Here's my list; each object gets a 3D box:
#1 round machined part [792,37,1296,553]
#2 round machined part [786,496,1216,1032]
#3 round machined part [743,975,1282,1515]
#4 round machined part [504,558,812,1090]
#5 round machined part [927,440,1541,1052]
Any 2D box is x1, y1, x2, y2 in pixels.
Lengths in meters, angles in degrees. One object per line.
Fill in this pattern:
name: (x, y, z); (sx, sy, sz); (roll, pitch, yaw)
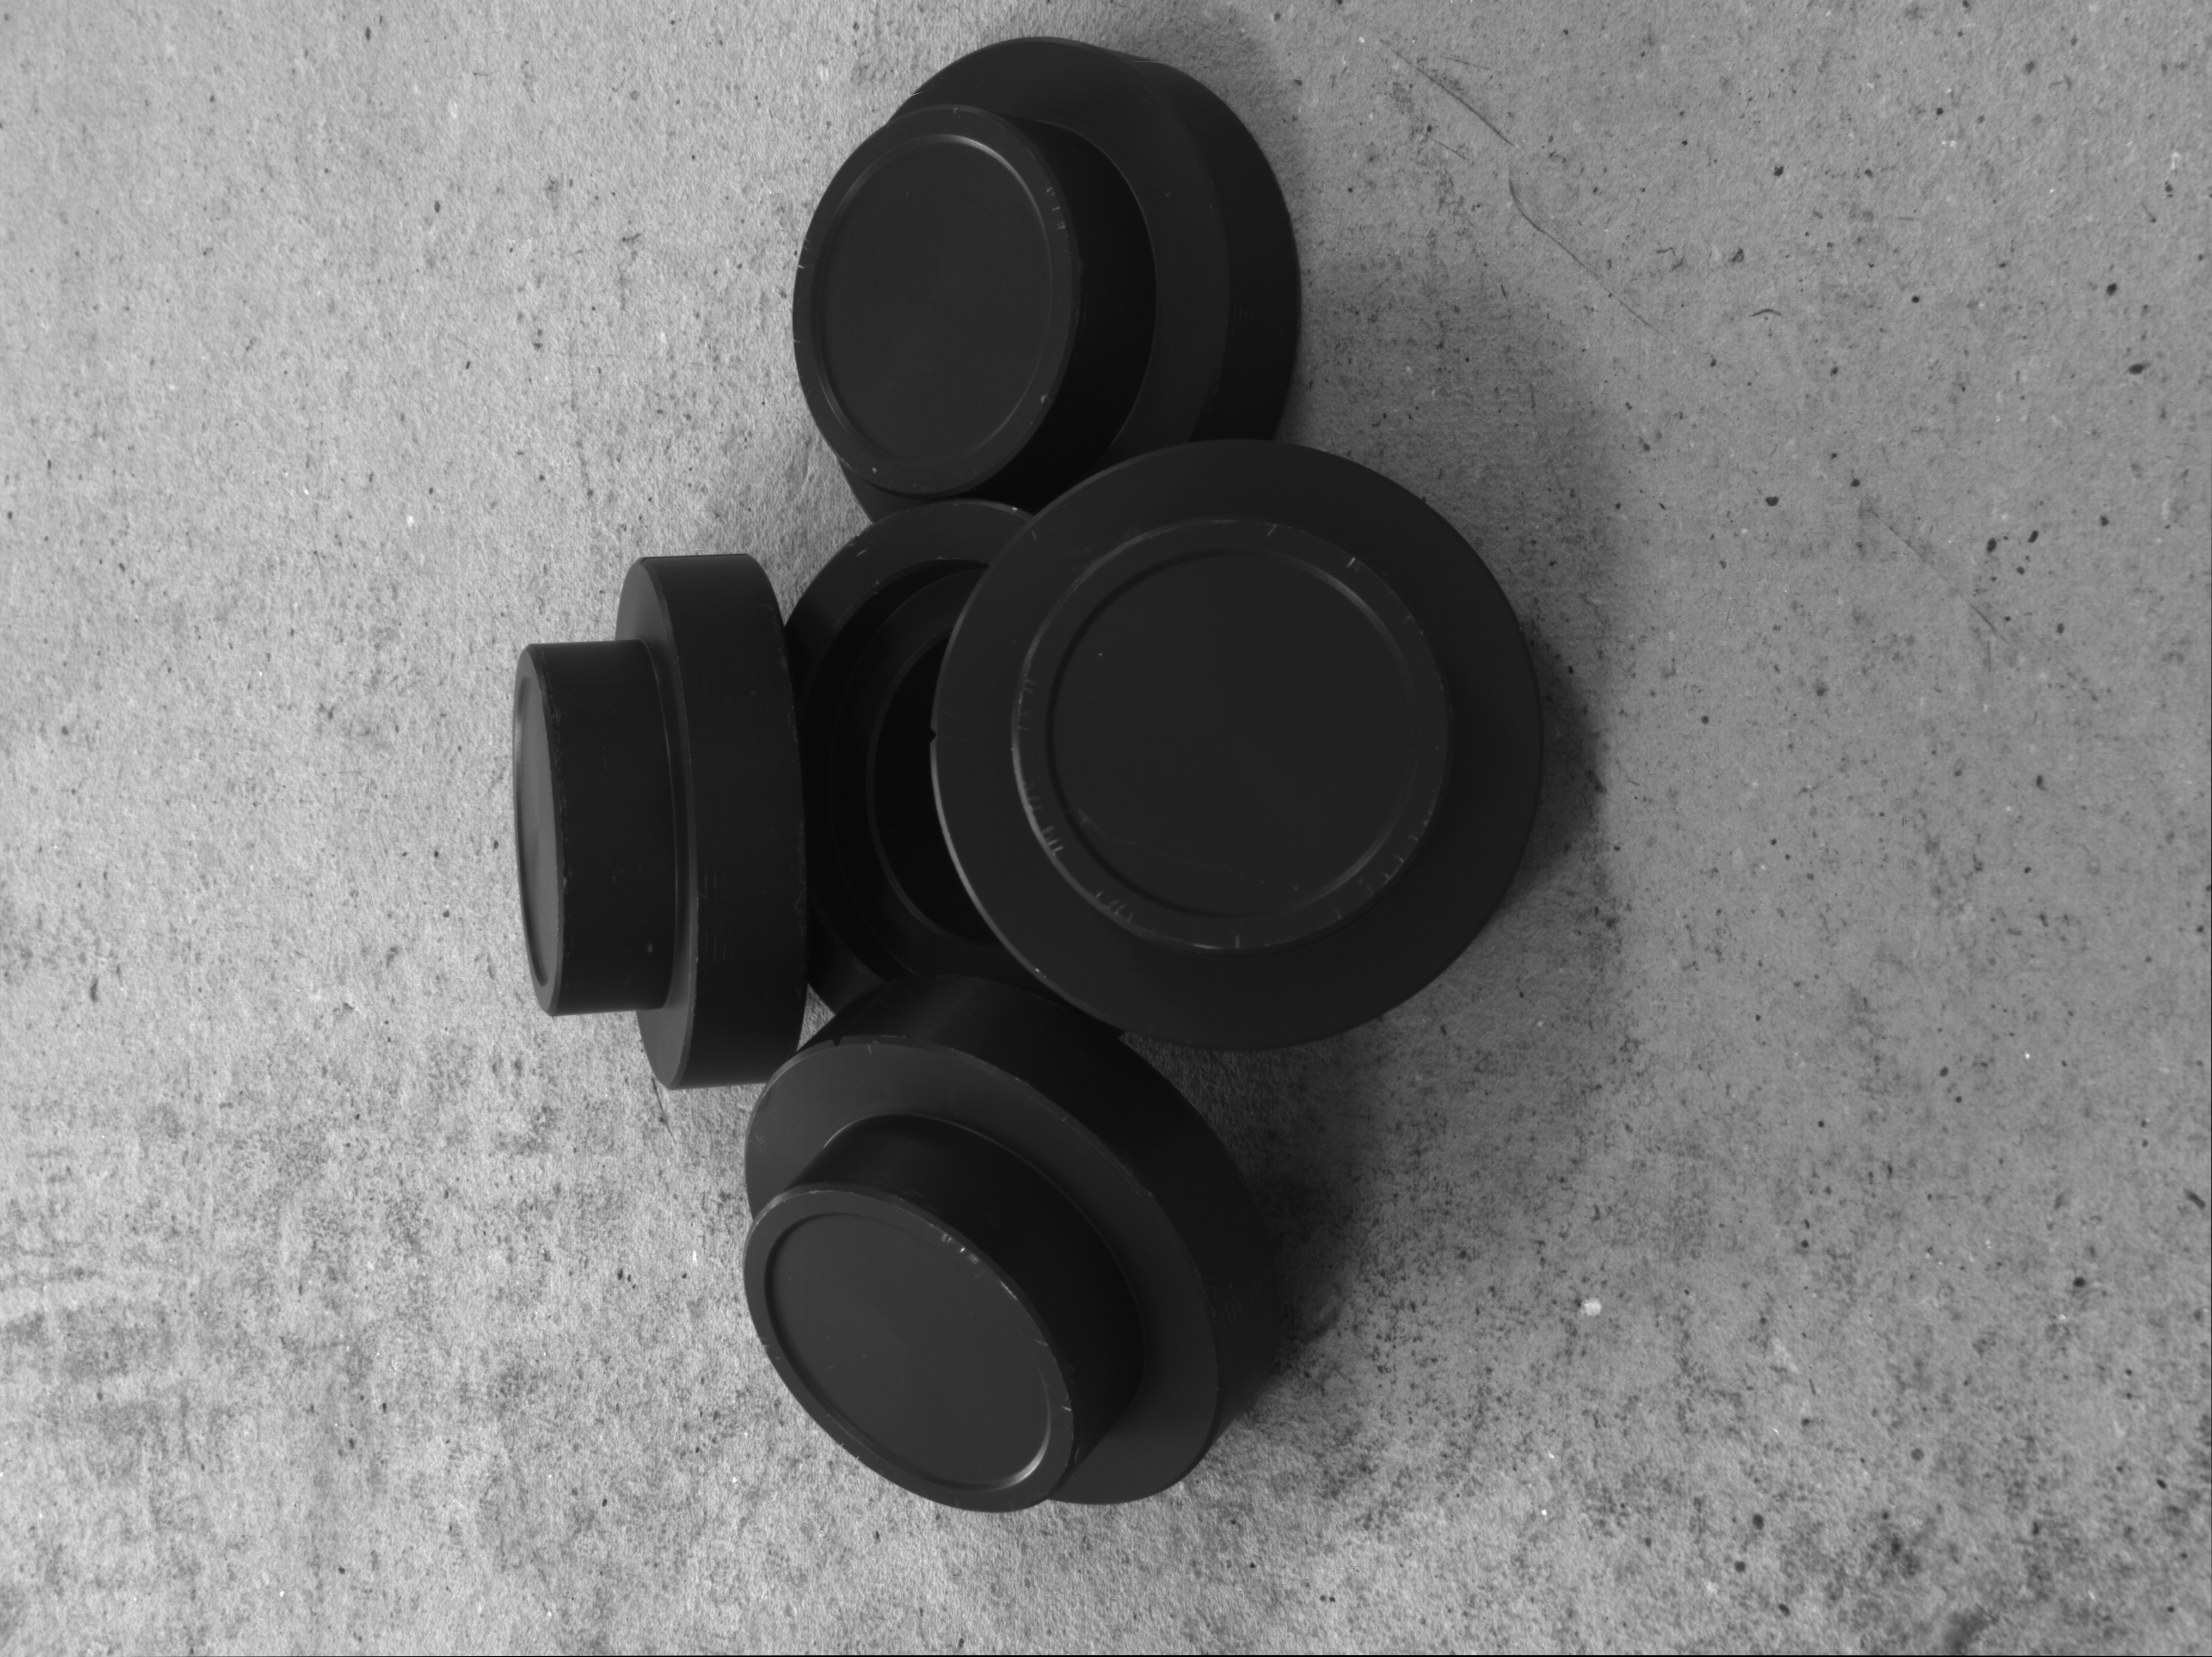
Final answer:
round machined part: (-0.017, -0.091, 0.648); (0.098, 0.042, 0.098); (-2, 87, 40)
round machined part: (-0.014, -0.008, 0.646); (0.098, 0.042, 0.098); (-1, 88, 42)
round machined part: (-0.022, 0.077, 0.625); (0.098, 0.042, 0.098); (20, 131, 25)
round machined part: (-0.085, -0.001, 0.674); (0.098, 0.042, 0.098); (176, 90, -74)
round machined part: (0.020, -0.013, 0.584); (0.098, 0.042, 0.098); (0, 87, 4)
